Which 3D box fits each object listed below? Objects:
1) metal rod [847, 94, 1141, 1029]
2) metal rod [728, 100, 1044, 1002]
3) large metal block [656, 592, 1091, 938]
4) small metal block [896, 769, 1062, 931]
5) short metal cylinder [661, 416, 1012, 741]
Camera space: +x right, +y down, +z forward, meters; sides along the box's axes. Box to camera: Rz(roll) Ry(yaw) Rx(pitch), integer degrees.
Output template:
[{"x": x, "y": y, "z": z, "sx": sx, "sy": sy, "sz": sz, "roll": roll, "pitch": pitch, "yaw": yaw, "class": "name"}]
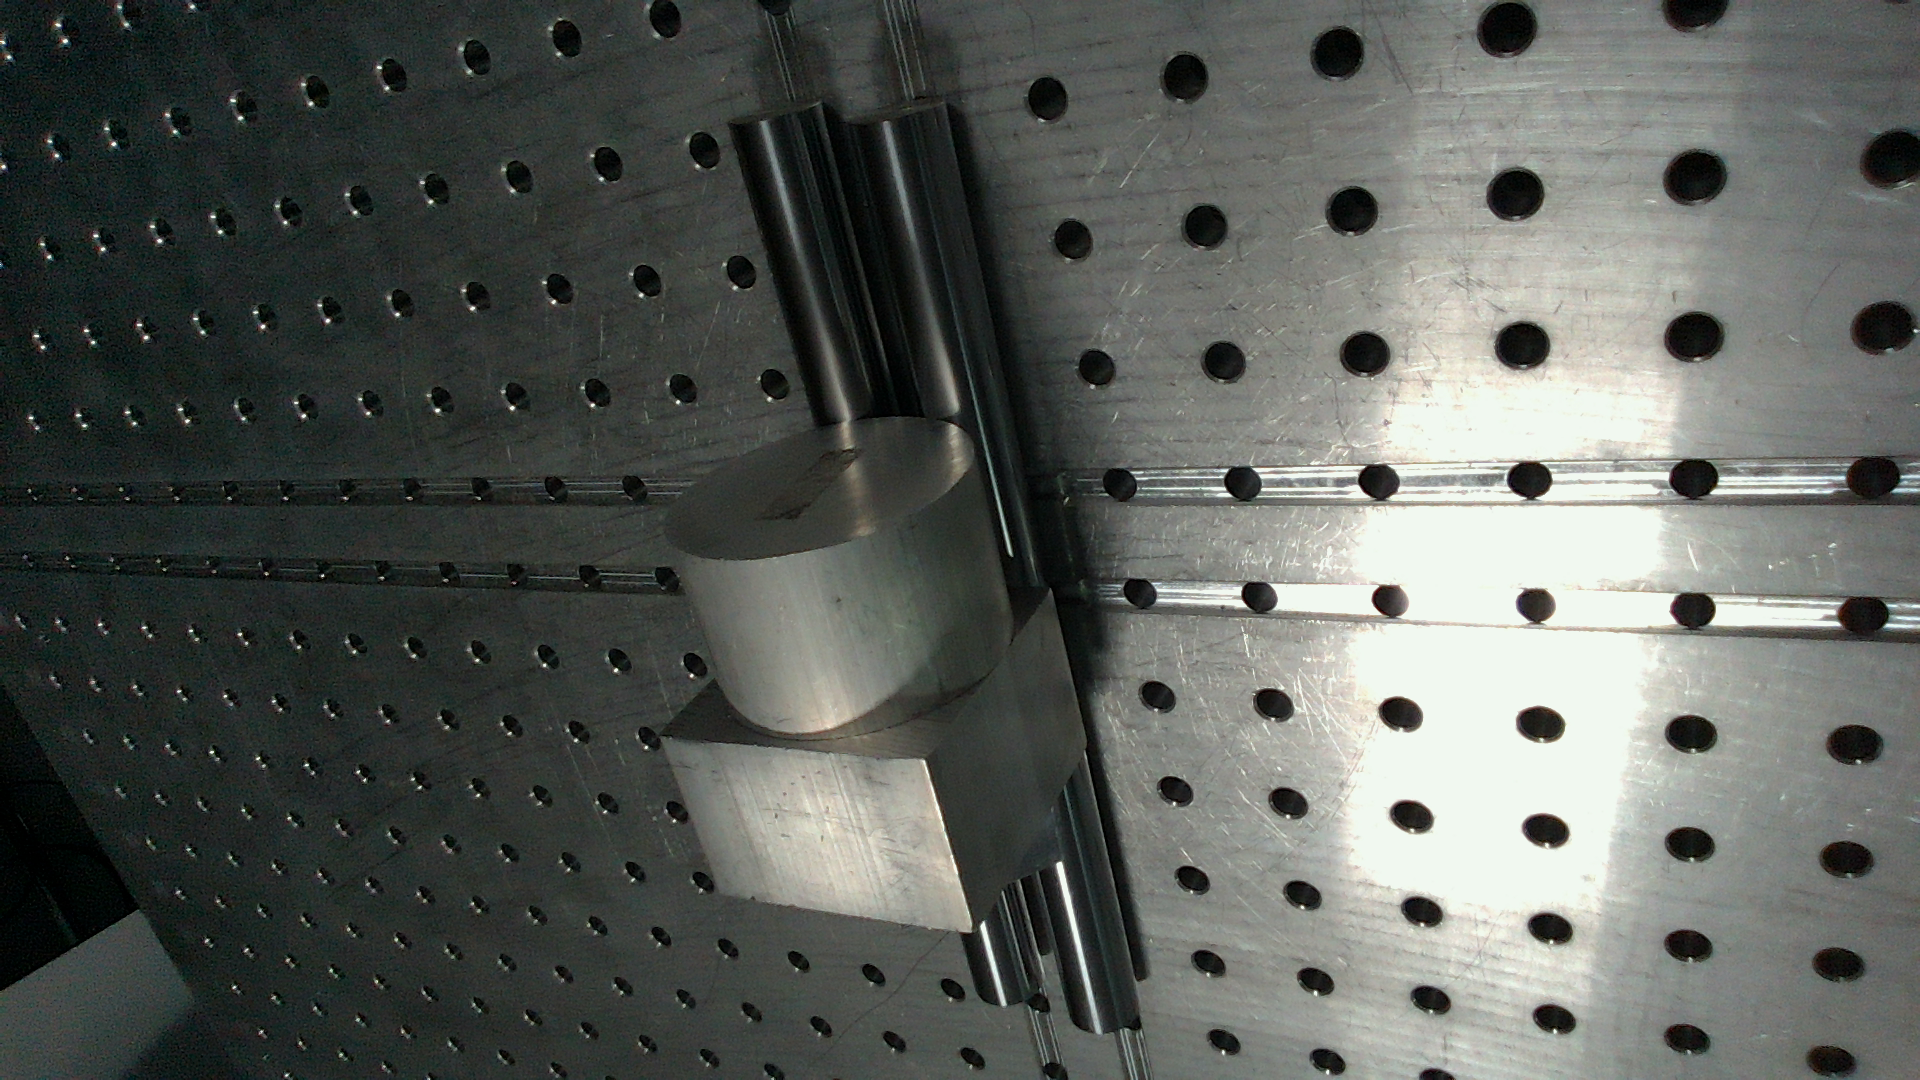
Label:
[{"x": 0.017, "y": 0.025, "z": 0.404, "sx": 0.025, "sy": 0.025, "sz": 0.300, "roll": 1, "pitch": 119, "yaw": 28, "class": "metal rod"}, {"x": -0.015, "y": 0.021, "z": 0.419, "sx": 0.025, "sy": 0.025, "sz": 0.300, "roll": 1, "pitch": 119, "yaw": 28, "class": "metal rod"}, {"x": -0.020, "y": 0.055, "z": 0.373, "sx": 0.080, "sy": 0.080, "sz": 0.050, "roll": 0, "pitch": 119, "yaw": 28, "class": "large metal block"}, {"x": -0.005, "y": 0.080, "z": 0.403, "sx": 0.050, "sy": 0.050, "sz": 0.025, "roll": -20, "pitch": 116, "yaw": -12, "class": "small metal block"}, {"x": -0.030, "y": 0.007, "z": 0.353, "sx": 0.080, "sy": 0.080, "sz": 0.050, "roll": 1, "pitch": 119, "yaw": 28, "class": "short metal cylinder"}]
